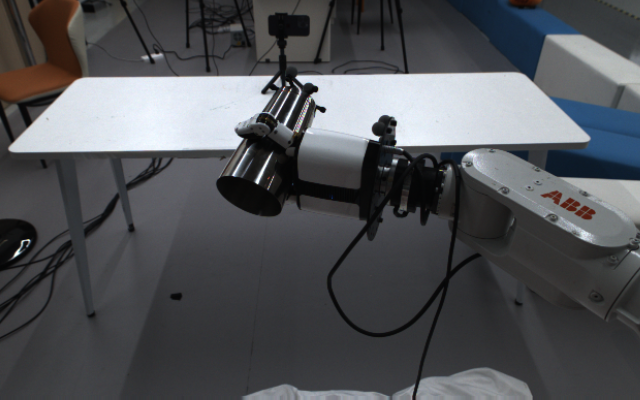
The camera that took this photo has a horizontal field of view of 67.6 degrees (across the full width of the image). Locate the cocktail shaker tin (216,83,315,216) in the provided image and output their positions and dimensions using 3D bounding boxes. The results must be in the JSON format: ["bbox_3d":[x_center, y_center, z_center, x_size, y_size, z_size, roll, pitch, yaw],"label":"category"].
[{"bbox_3d":[-0.065,-0.072,0.661,0.093,0.093,0.170,14,61,17],"label":"cocktail shaker tin"}]
